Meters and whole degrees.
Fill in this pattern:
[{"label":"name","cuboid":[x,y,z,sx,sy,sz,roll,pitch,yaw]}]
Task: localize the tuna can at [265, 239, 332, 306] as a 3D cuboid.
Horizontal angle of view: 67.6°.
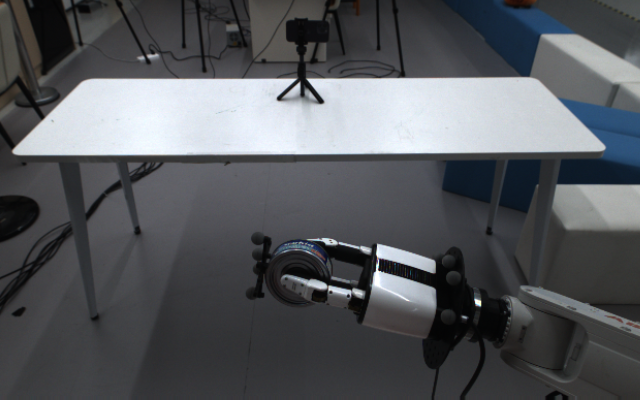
[{"label":"tuna can","cuboid":[-0.025,0.095,0.628,0.085,0.085,0.034,4,18,3]}]
